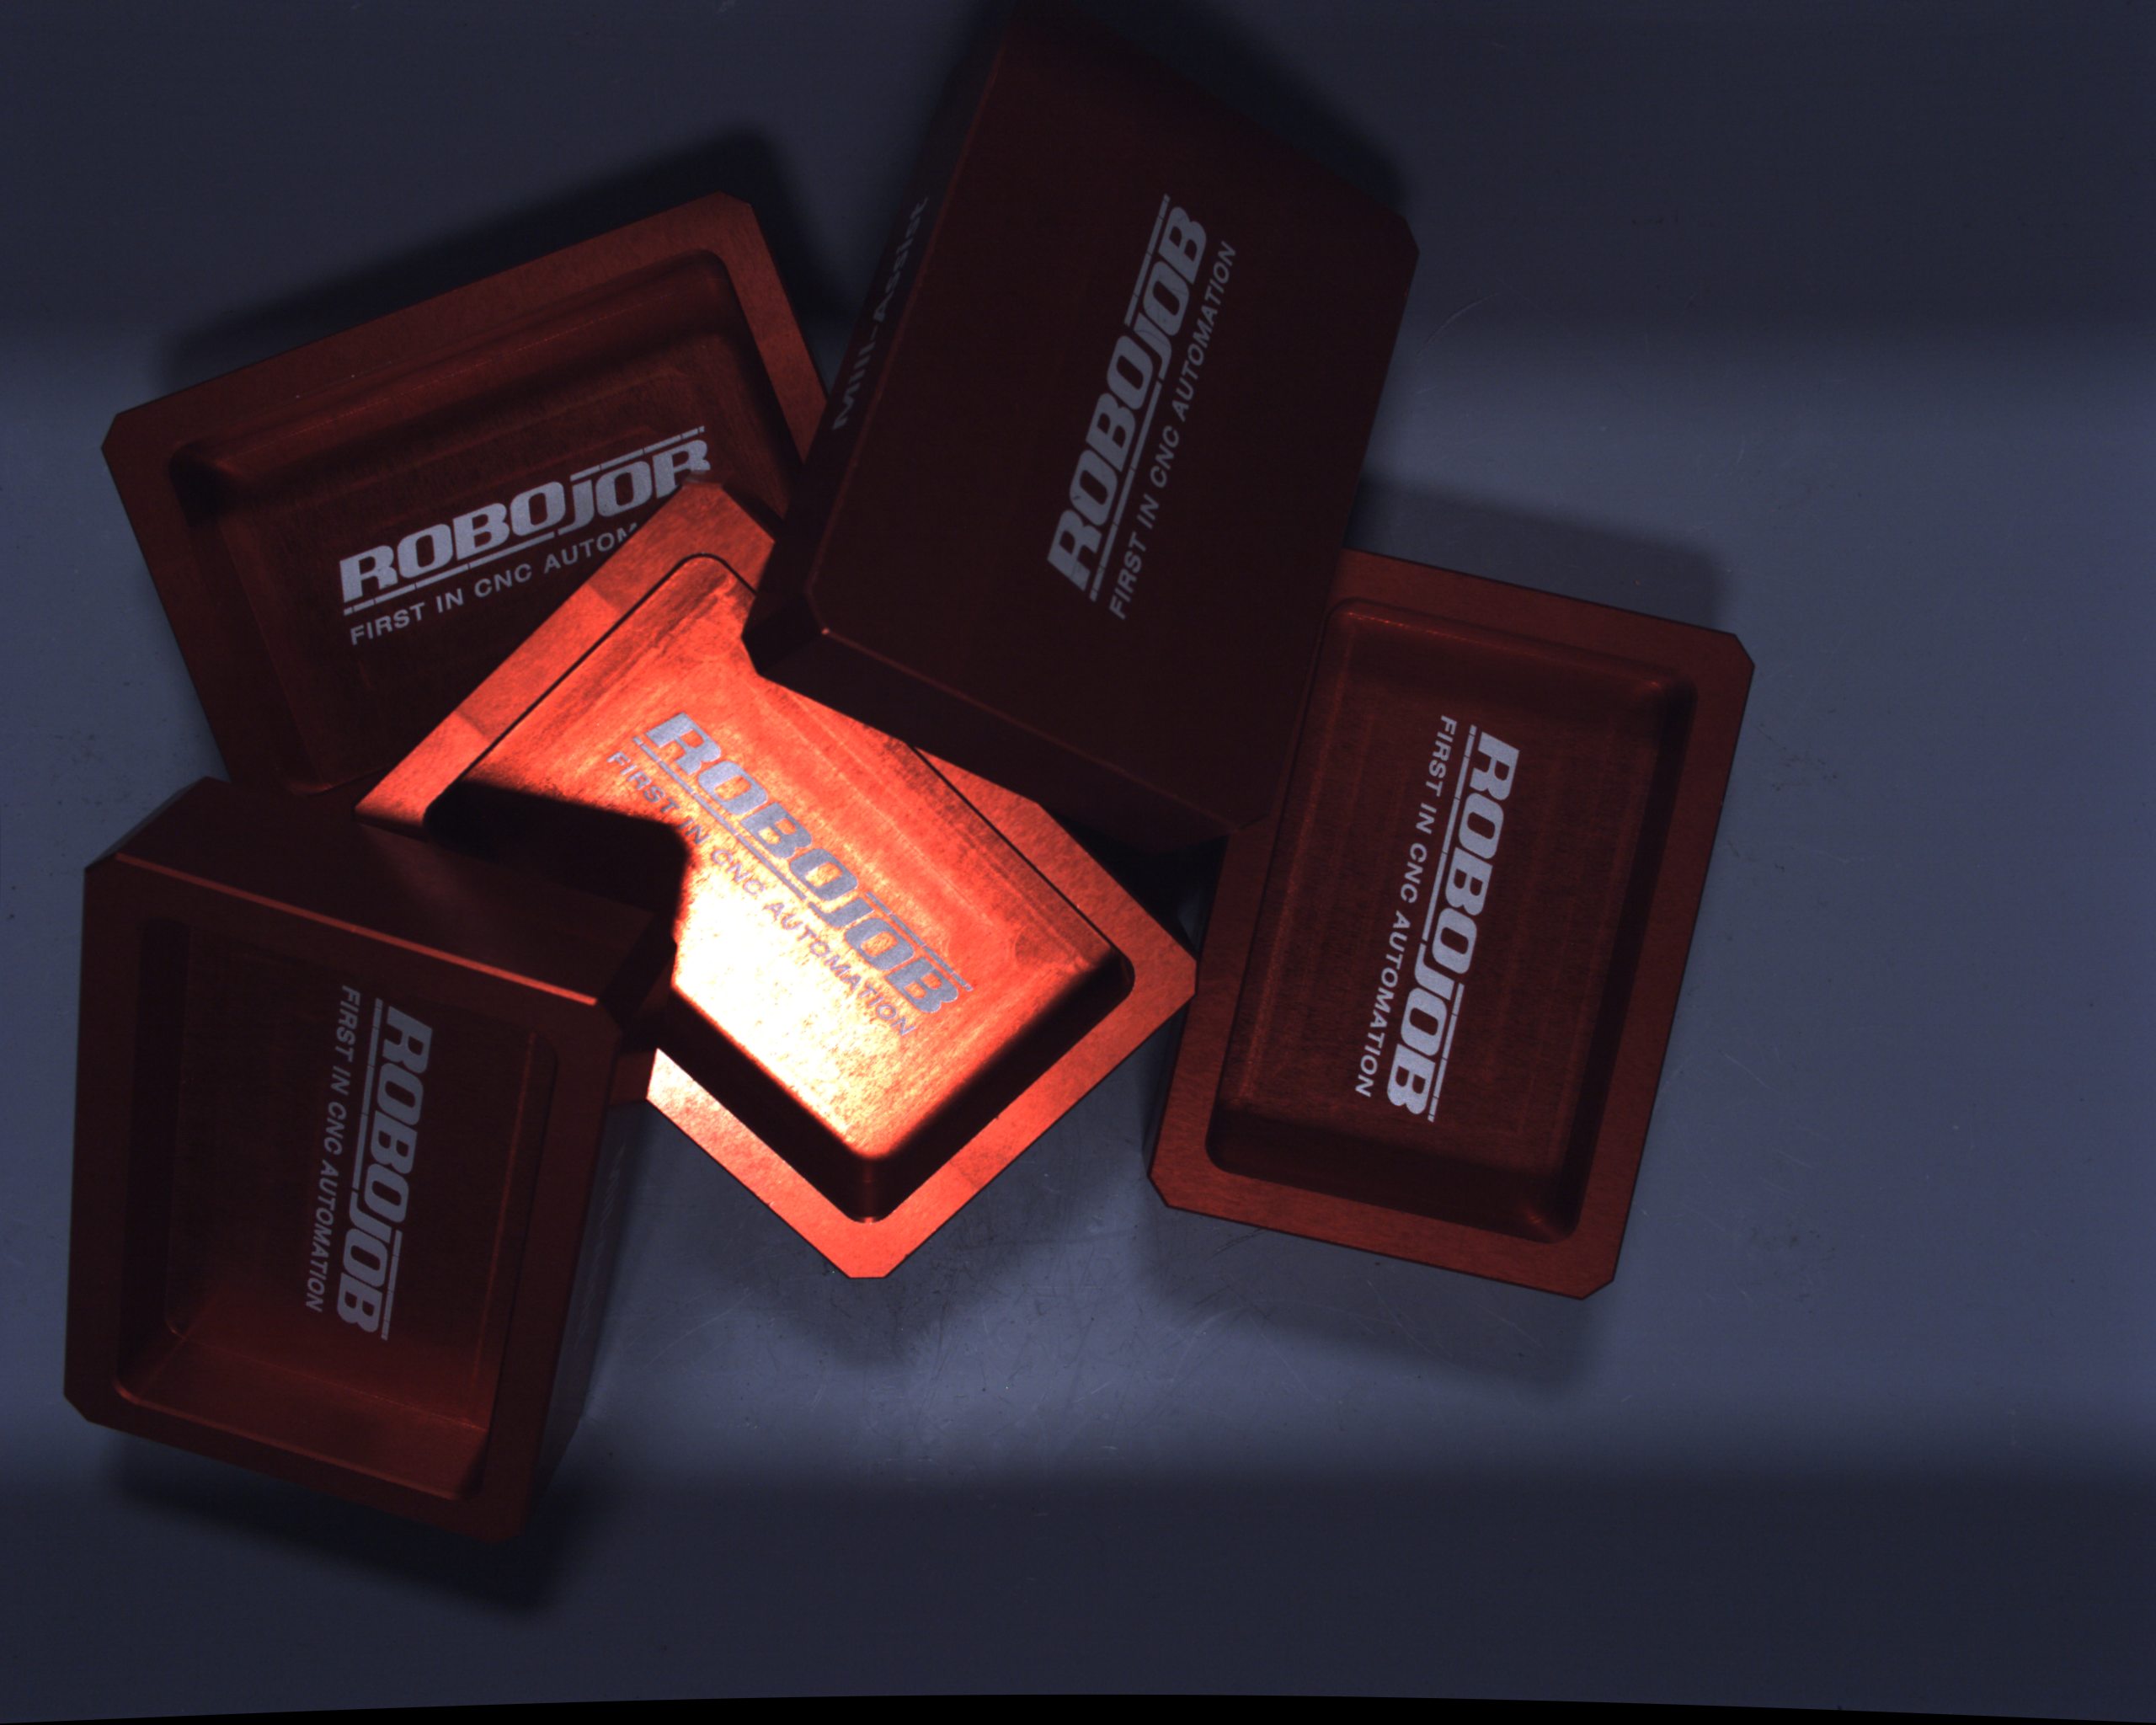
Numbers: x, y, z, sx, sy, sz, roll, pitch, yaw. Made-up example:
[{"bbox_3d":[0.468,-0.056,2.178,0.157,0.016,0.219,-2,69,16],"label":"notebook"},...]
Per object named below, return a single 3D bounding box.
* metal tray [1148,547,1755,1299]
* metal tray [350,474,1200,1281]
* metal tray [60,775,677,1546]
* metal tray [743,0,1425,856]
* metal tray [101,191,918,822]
[{"bbox_3d":[0.071,0.011,0.408,0.091,0.030,0.129,13,90,-1],"label":"metal tray"},{"bbox_3d":[-0.053,0.004,0.385,0.090,0.030,0.130,-43,105,6],"label":"metal tray"},{"bbox_3d":[-0.130,0.057,0.376,0.090,0.030,0.129,17,118,-1],"label":"metal tray"},{"bbox_3d":[0.005,-0.077,0.373,0.090,0.030,0.130,25,70,-23],"label":"metal tray"},{"bbox_3d":[-0.108,-0.064,0.406,0.131,0.030,0.090,-21,90,-1],"label":"metal tray"}]
